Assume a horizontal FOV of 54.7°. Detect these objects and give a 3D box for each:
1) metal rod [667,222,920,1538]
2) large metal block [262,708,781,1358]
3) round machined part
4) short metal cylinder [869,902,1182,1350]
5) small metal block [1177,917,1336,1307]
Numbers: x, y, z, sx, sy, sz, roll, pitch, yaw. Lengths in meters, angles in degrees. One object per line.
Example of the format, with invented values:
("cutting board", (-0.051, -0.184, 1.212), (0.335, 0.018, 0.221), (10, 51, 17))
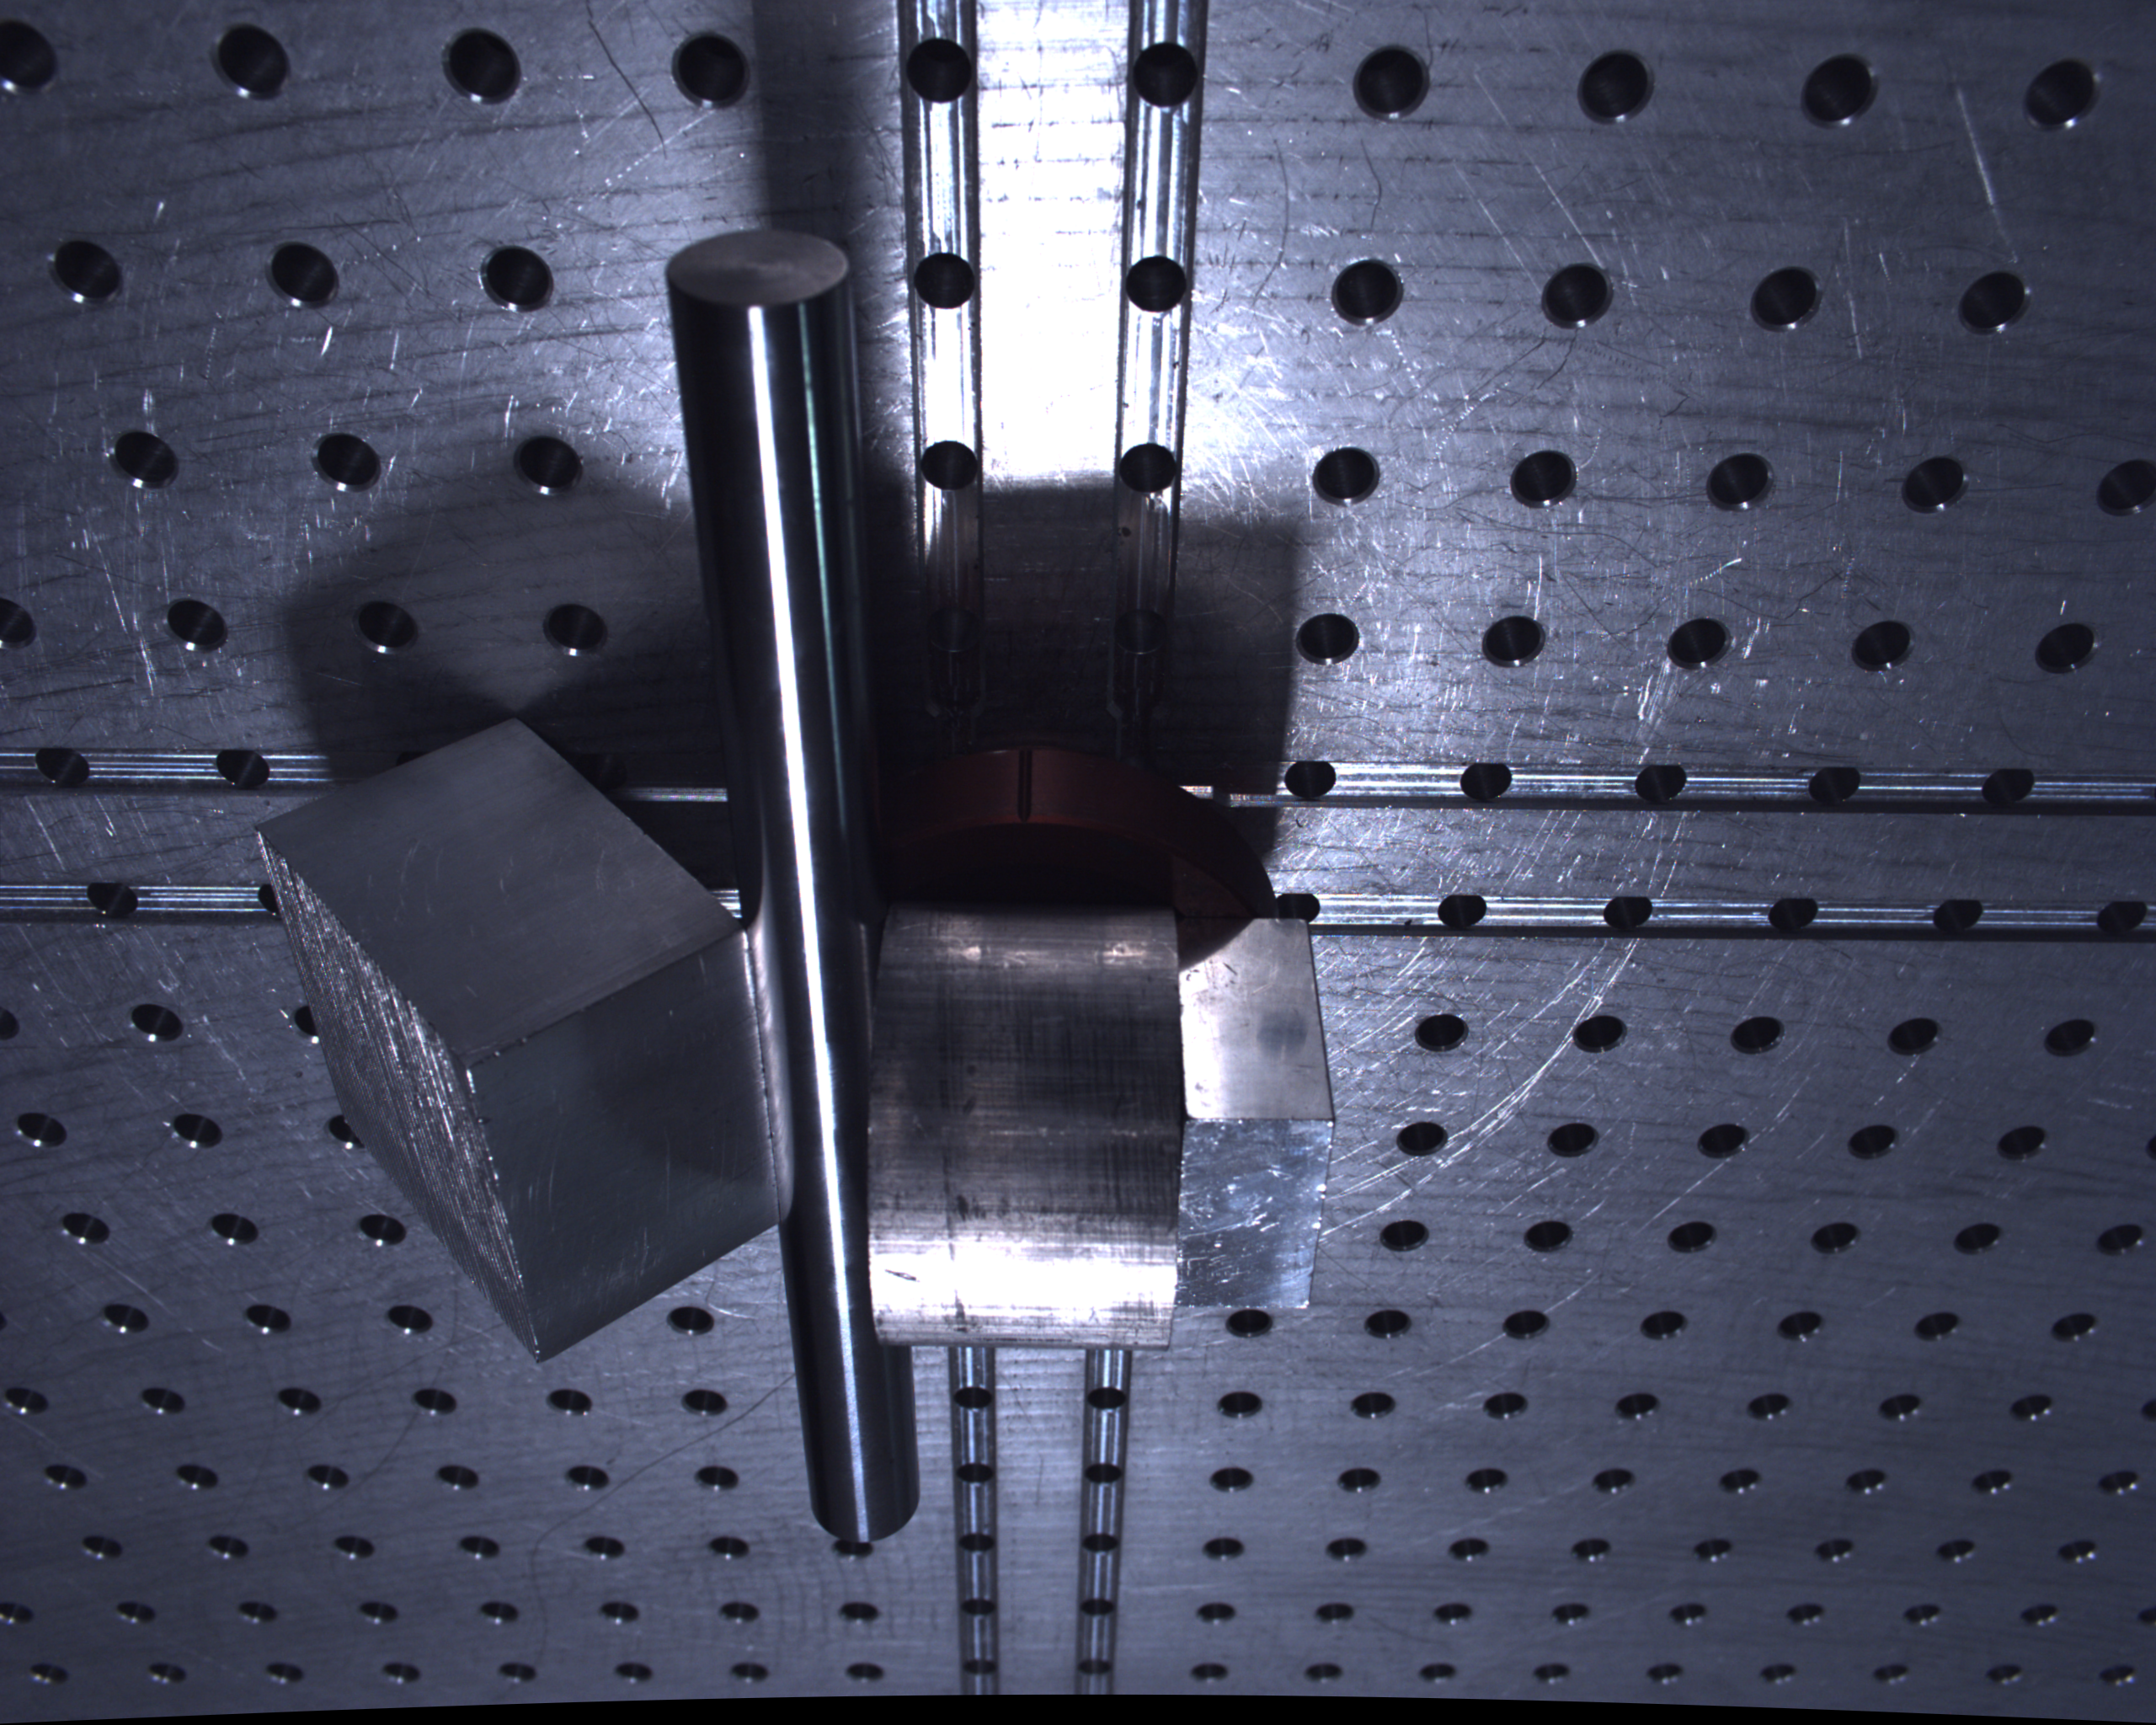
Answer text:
("metal rod", (-0.046, 0.031, 0.383), (0.025, 0.025, 0.298), (0, 130, -1))
("large metal block", (-0.103, 0.031, 0.392), (0.050, 0.080, 0.079), (-29, 139, -31))
("round machined part", (-0.009, 0.016, 0.413), (0.099, 0.042, 0.097), (-1, 130, 0))
("short metal cylinder", (-0.009, 0.047, 0.376), (0.050, 0.080, 0.079), (1, 130, -1))
("small metal block", (0.029, 0.045, 0.379), (0.025, 0.050, 0.050), (1, 130, -1))
